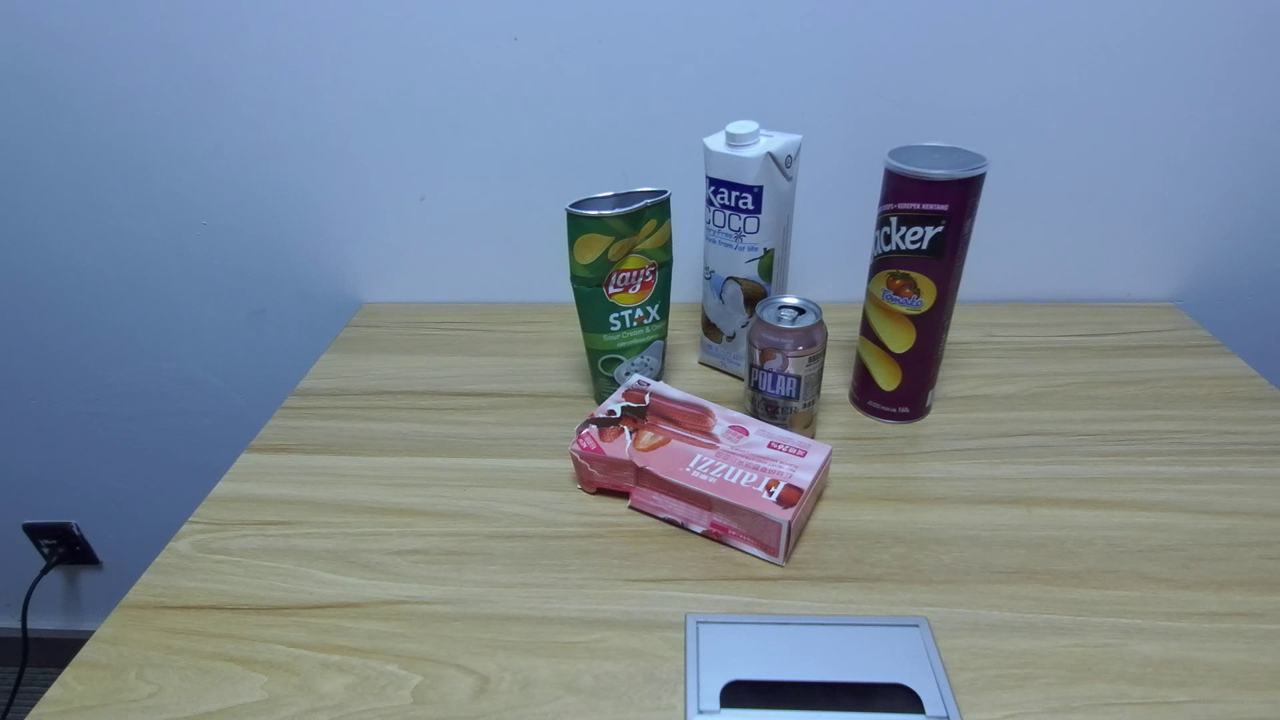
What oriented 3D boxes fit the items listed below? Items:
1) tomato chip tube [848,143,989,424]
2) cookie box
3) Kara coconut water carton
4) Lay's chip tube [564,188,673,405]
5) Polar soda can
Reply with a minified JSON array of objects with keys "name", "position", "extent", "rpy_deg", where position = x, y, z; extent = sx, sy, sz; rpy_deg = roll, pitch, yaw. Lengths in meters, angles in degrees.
[{"name":"tomato chip tube","position":[0.236,-0.059,0.612],"extent":[0.078,0.234,0.078],"rpy_deg":[-2,33,2]},{"name":"cookie box","position":[0.049,0.080,0.565],"extent":[0.185,0.059,0.105],"rpy_deg":[16,39,25]},{"name":"Kara coconut water carton","position":[0.101,-0.103,0.673],"extent":[0.076,0.245,0.075],"rpy_deg":[22,39,33]},{"name":"Lay's chip tube","position":[-0.014,-0.050,0.639],"extent":[0.068,0.200,0.075],"rpy_deg":[15,37,25]},{"name":"Polar soda can","position":[0.125,0.011,0.609],"extent":[0.067,0.126,0.067],"rpy_deg":[-2,32,2]}]
